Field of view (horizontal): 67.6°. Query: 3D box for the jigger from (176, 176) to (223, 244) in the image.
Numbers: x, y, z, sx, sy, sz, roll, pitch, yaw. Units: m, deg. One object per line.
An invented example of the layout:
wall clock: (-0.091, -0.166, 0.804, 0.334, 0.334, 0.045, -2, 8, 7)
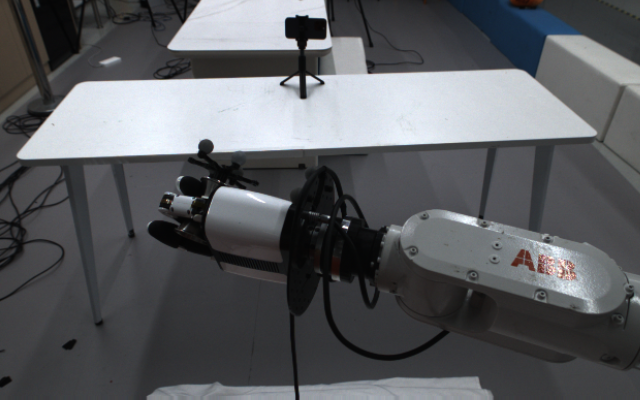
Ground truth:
jigger: (-0.129, 0.012, 0.549, 0.043, 0.043, 0.071, 15, 71, 18)
